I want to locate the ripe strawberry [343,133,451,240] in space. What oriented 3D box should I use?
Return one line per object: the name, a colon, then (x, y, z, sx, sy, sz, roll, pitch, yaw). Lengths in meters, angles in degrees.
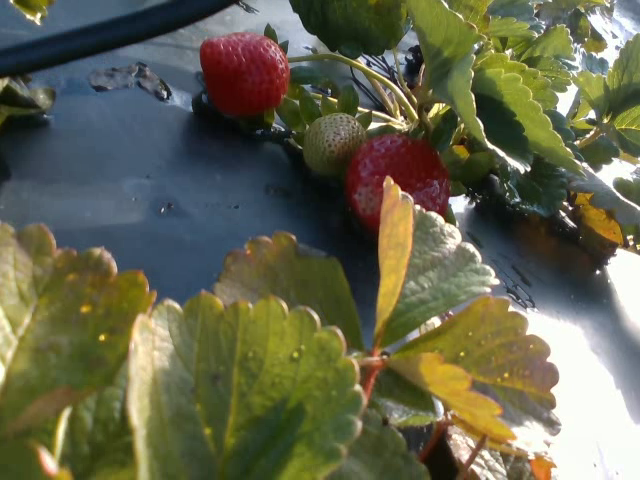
ripe strawberry: (0.028, -0.021, 0.249, 0.048, 0.050, 0.065, -5, 26, 34)
